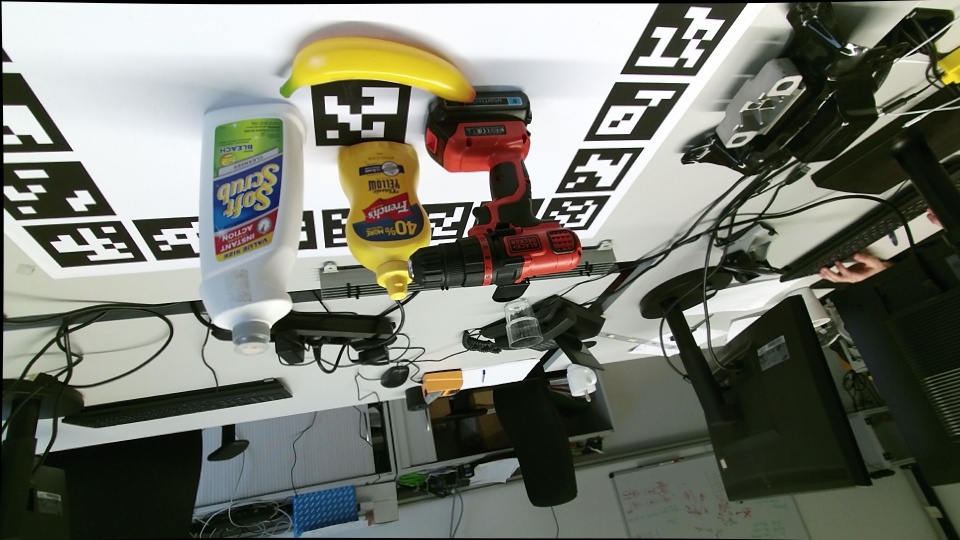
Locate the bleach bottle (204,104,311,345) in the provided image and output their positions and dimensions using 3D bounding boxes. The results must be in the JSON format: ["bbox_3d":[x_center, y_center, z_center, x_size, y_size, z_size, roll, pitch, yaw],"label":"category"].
[{"bbox_3d":[-0.213,-0.048,0.523,0.103,0.249,0.068,-10,151,-7],"label":"bleach bottle"}]

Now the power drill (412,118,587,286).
[{"bbox_3d":[0.011,-0.073,0.581,0.185,0.186,0.057,-5,158,-11],"label":"power drill"}]

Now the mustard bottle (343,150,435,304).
[{"bbox_3d":[-0.102,-0.049,0.615,0.096,0.190,0.058,-5,151,-15],"label":"mustard bottle"}]

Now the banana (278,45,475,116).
[{"bbox_3d":[-0.096,-0.184,0.527,0.198,0.038,0.074,-5,147,-18],"label":"banana"}]
